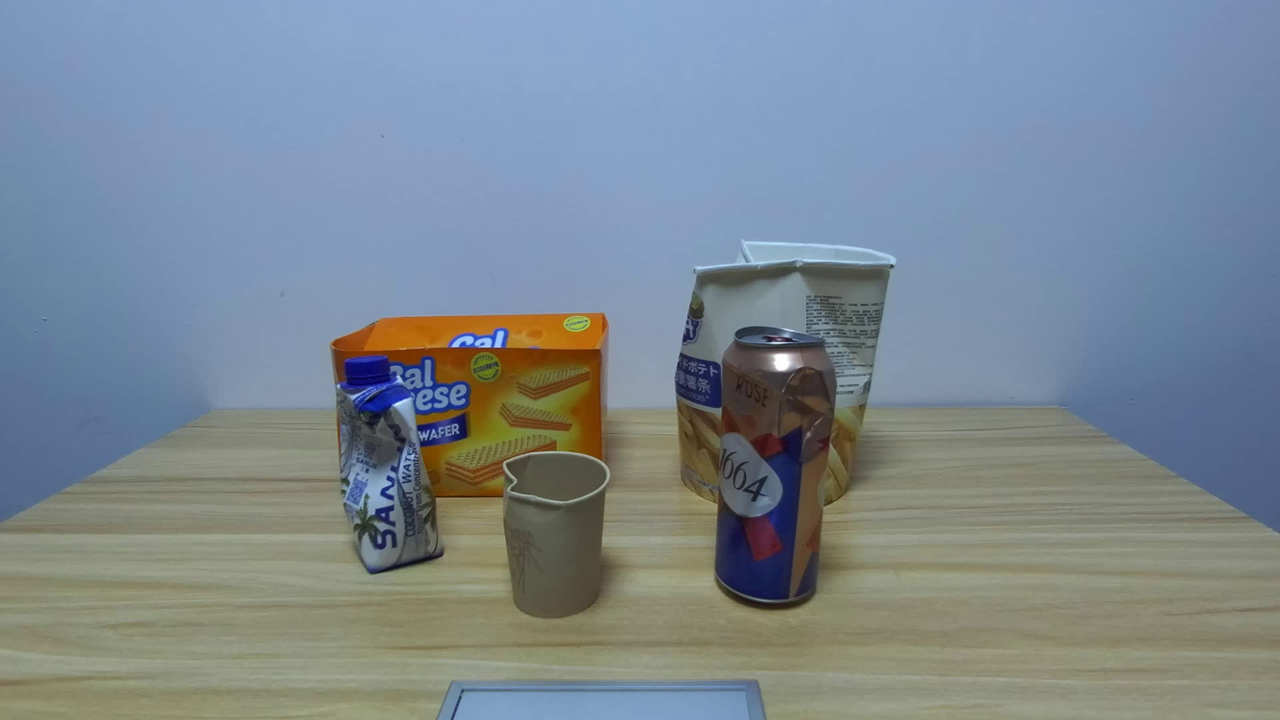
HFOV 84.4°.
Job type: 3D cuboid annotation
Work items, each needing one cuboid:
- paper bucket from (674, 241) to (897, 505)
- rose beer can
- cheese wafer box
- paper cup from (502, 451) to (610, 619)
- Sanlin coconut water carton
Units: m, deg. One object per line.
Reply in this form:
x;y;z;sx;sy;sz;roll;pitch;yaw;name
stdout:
0.108;0.005;0.606;0.169;0.202;0.162;-1;14;-9;paper bucket
0.083;0.066;0.438;0.065;0.167;0.075;-1;12;-10;rose beer can
-0.144;0.037;0.637;0.230;0.132;0.152;1;16;0;cheese wafer box
-0.053;0.109;0.441;0.073;0.081;0.069;4;14;18;paper cup
-0.175;0.073;0.479;0.057;0.145;0.068;-16;26;-26;Sanlin coconut water carton
